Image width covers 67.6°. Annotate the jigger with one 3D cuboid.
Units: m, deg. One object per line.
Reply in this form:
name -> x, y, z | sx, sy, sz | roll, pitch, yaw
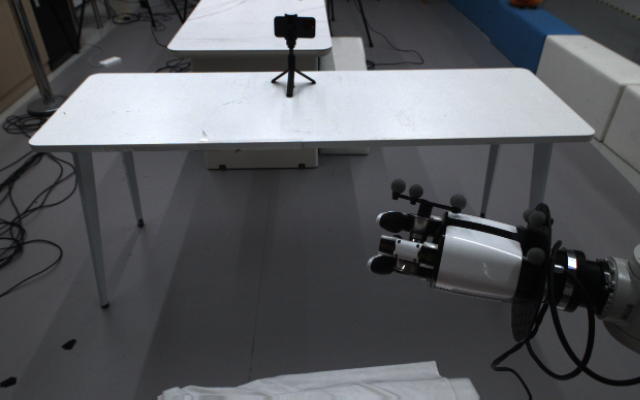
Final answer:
jigger -> 0.119, 0.054, 0.582 | 0.043, 0.071, 0.043 | 14, 1, 0
